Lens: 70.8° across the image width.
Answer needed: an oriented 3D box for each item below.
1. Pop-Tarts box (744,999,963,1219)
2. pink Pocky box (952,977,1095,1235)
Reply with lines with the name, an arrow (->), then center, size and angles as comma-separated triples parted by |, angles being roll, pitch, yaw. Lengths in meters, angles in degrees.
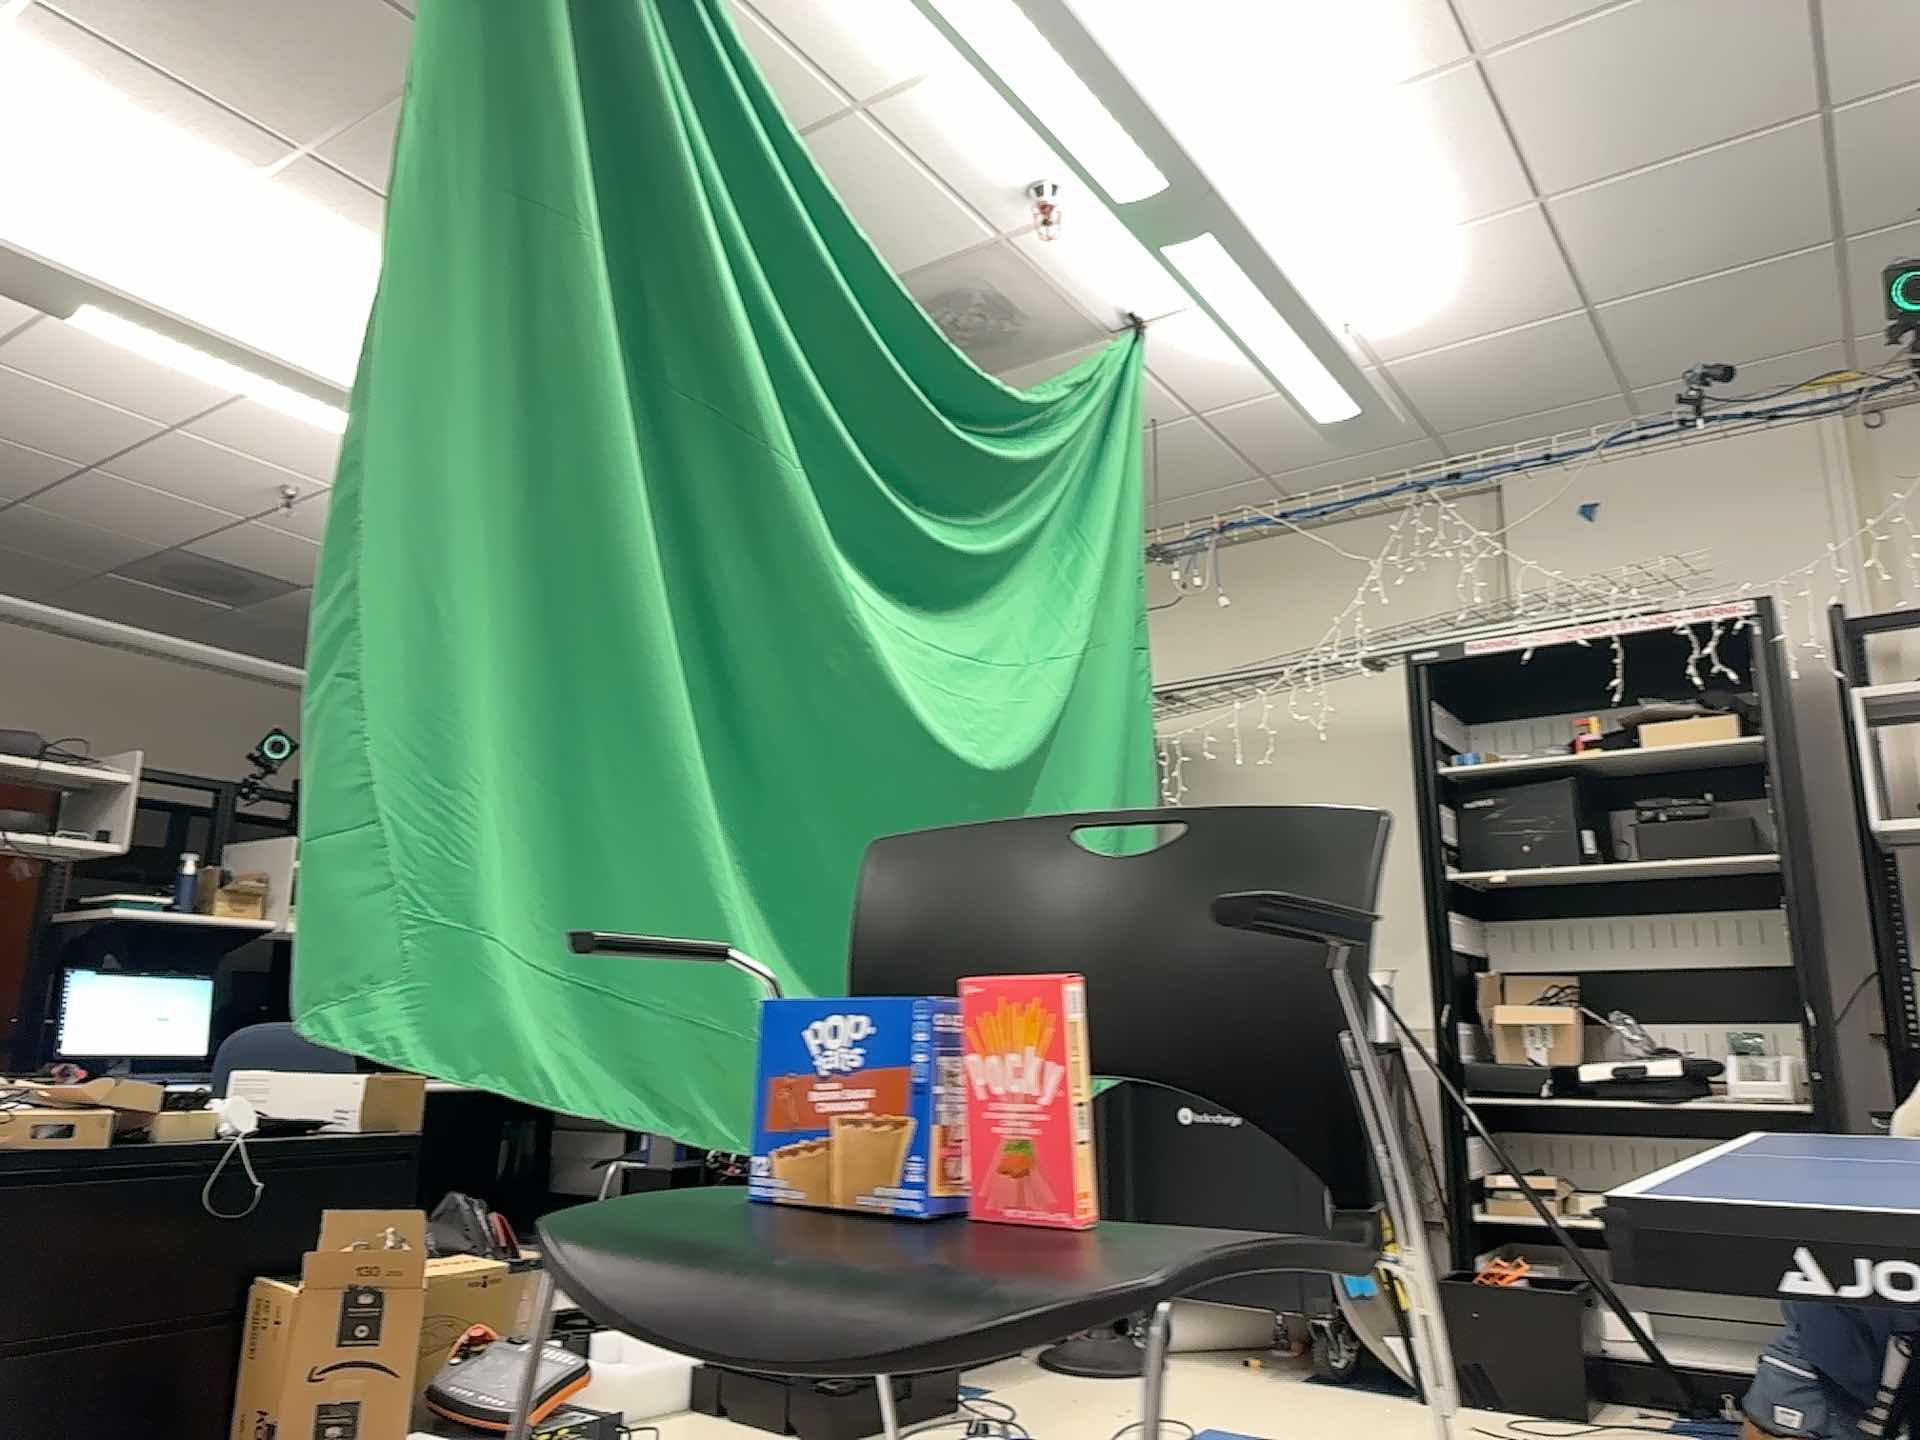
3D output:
Pop-Tarts box -> -0.063, 0.270, 0.959 | 0.161, 0.135, 0.075 | -8, -16, 34
pink Pocky box -> 0.039, 0.243, 0.862 | 0.084, 0.155, 0.029 | -7, -10, 30
